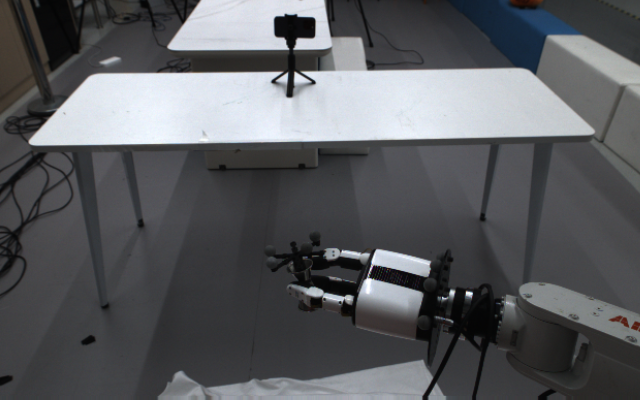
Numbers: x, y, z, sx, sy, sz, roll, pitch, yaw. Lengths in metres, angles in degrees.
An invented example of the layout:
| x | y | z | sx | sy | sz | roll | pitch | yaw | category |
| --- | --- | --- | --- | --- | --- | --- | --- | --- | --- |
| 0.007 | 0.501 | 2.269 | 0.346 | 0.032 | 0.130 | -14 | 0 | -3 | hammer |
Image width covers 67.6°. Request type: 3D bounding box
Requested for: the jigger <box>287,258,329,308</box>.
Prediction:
| x | y | z | sx | sy | sz | roll | pitch | yaw | category |
| --- | --- | --- | --- | --- | --- | --- | --- | --- | --- |
| -0.020 | 0.125 | 0.715 | 0.043 | 0.071 | 0.043 | -14 | 21 | 6 | jigger |
